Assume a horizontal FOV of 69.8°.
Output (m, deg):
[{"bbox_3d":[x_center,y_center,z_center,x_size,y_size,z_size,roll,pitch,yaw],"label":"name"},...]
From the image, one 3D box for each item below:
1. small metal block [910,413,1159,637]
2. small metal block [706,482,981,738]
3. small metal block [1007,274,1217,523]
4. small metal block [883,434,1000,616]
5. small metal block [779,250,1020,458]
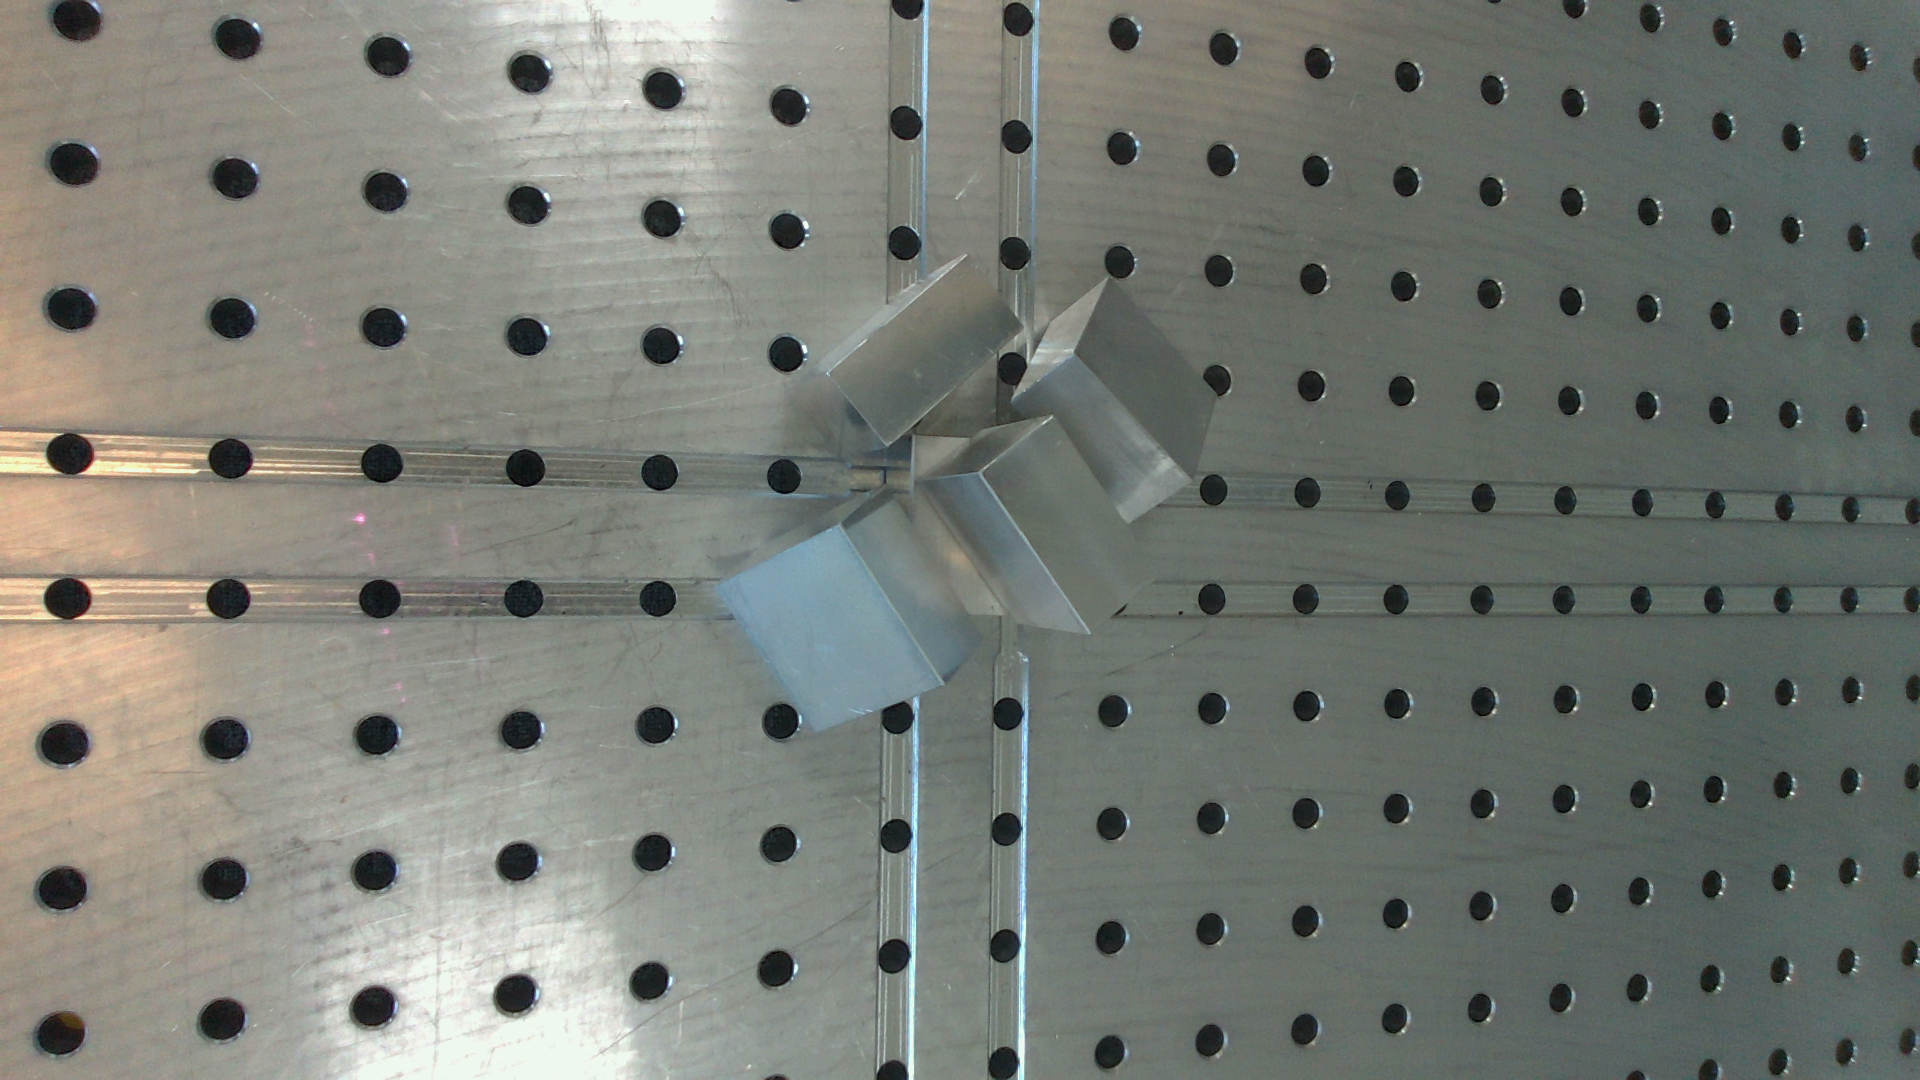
[{"bbox_3d":[0.018,-0.004,0.362,0.025,0.050,0.050,-38,103,-17],"label":"small metal block"},{"bbox_3d":[-0.031,0.020,0.368,0.050,0.050,0.025,58,36,-11],"label":"small metal block"},{"bbox_3d":[0.045,-0.041,0.398,0.050,0.025,0.050,44,36,-14],"label":"small metal block"},{"bbox_3d":[0.005,-0.004,0.397,0.050,0.025,0.050,1,90,-21],"label":"small metal block"},{"bbox_3d":[-0.018,-0.049,0.376,0.050,0.050,0.025,-43,103,-15],"label":"small metal block"}]
